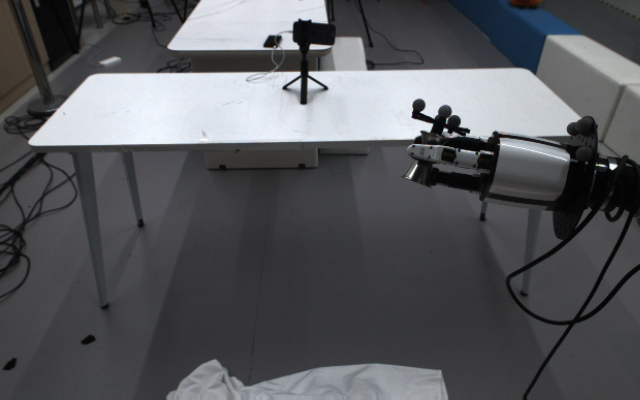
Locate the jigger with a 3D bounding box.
[{"bbox_3d":[0.141,-0.057,0.655,0.043,0.071,0.043,22,5,-2],"label":"jigger"}]
